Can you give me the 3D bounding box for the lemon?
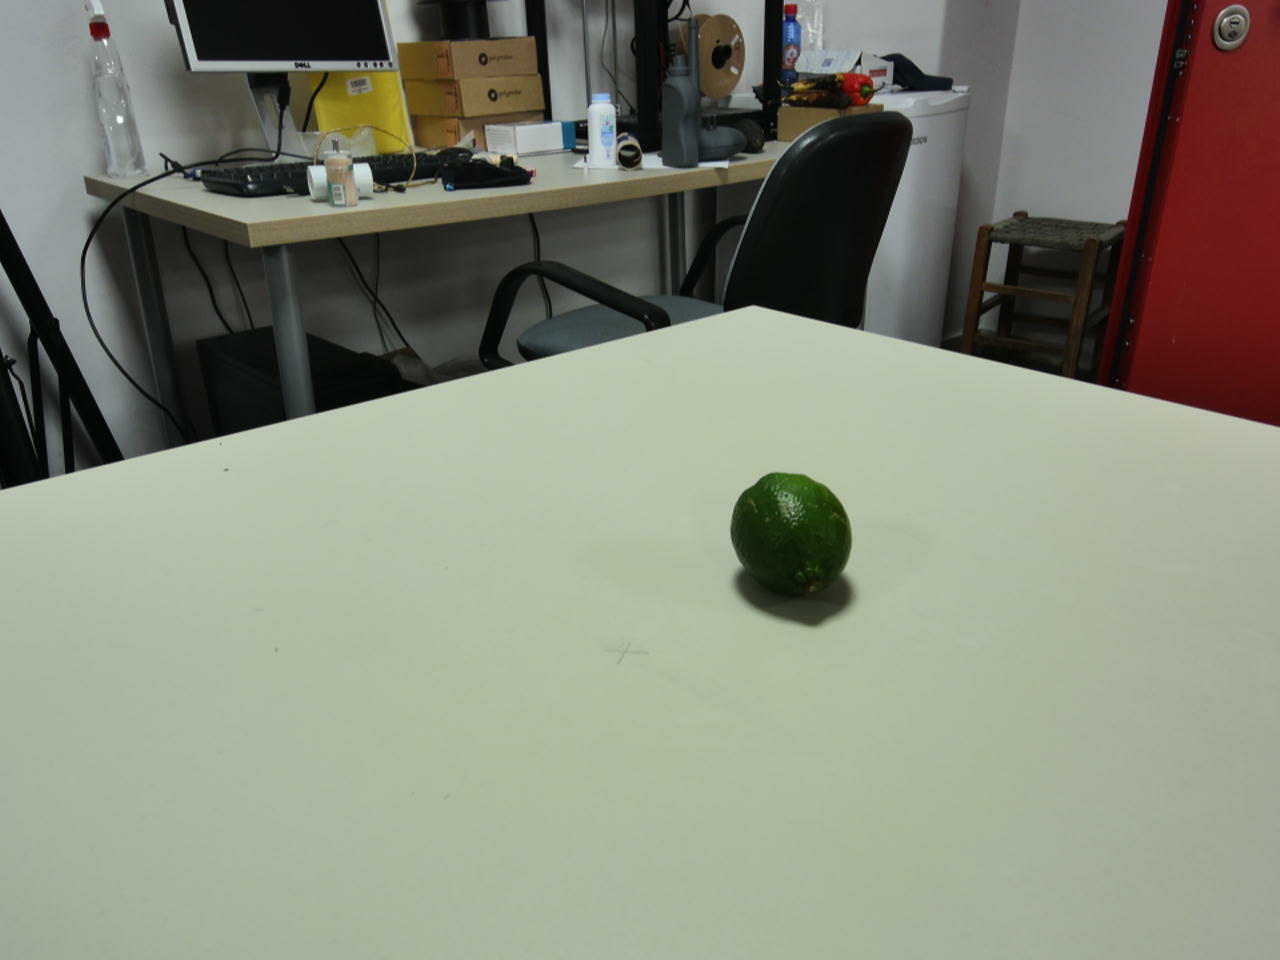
[{"bbox_3d":[0.067,0.023,0.443,0.054,0.051,0.057,-19,29,-39],"label":"lemon"}]
